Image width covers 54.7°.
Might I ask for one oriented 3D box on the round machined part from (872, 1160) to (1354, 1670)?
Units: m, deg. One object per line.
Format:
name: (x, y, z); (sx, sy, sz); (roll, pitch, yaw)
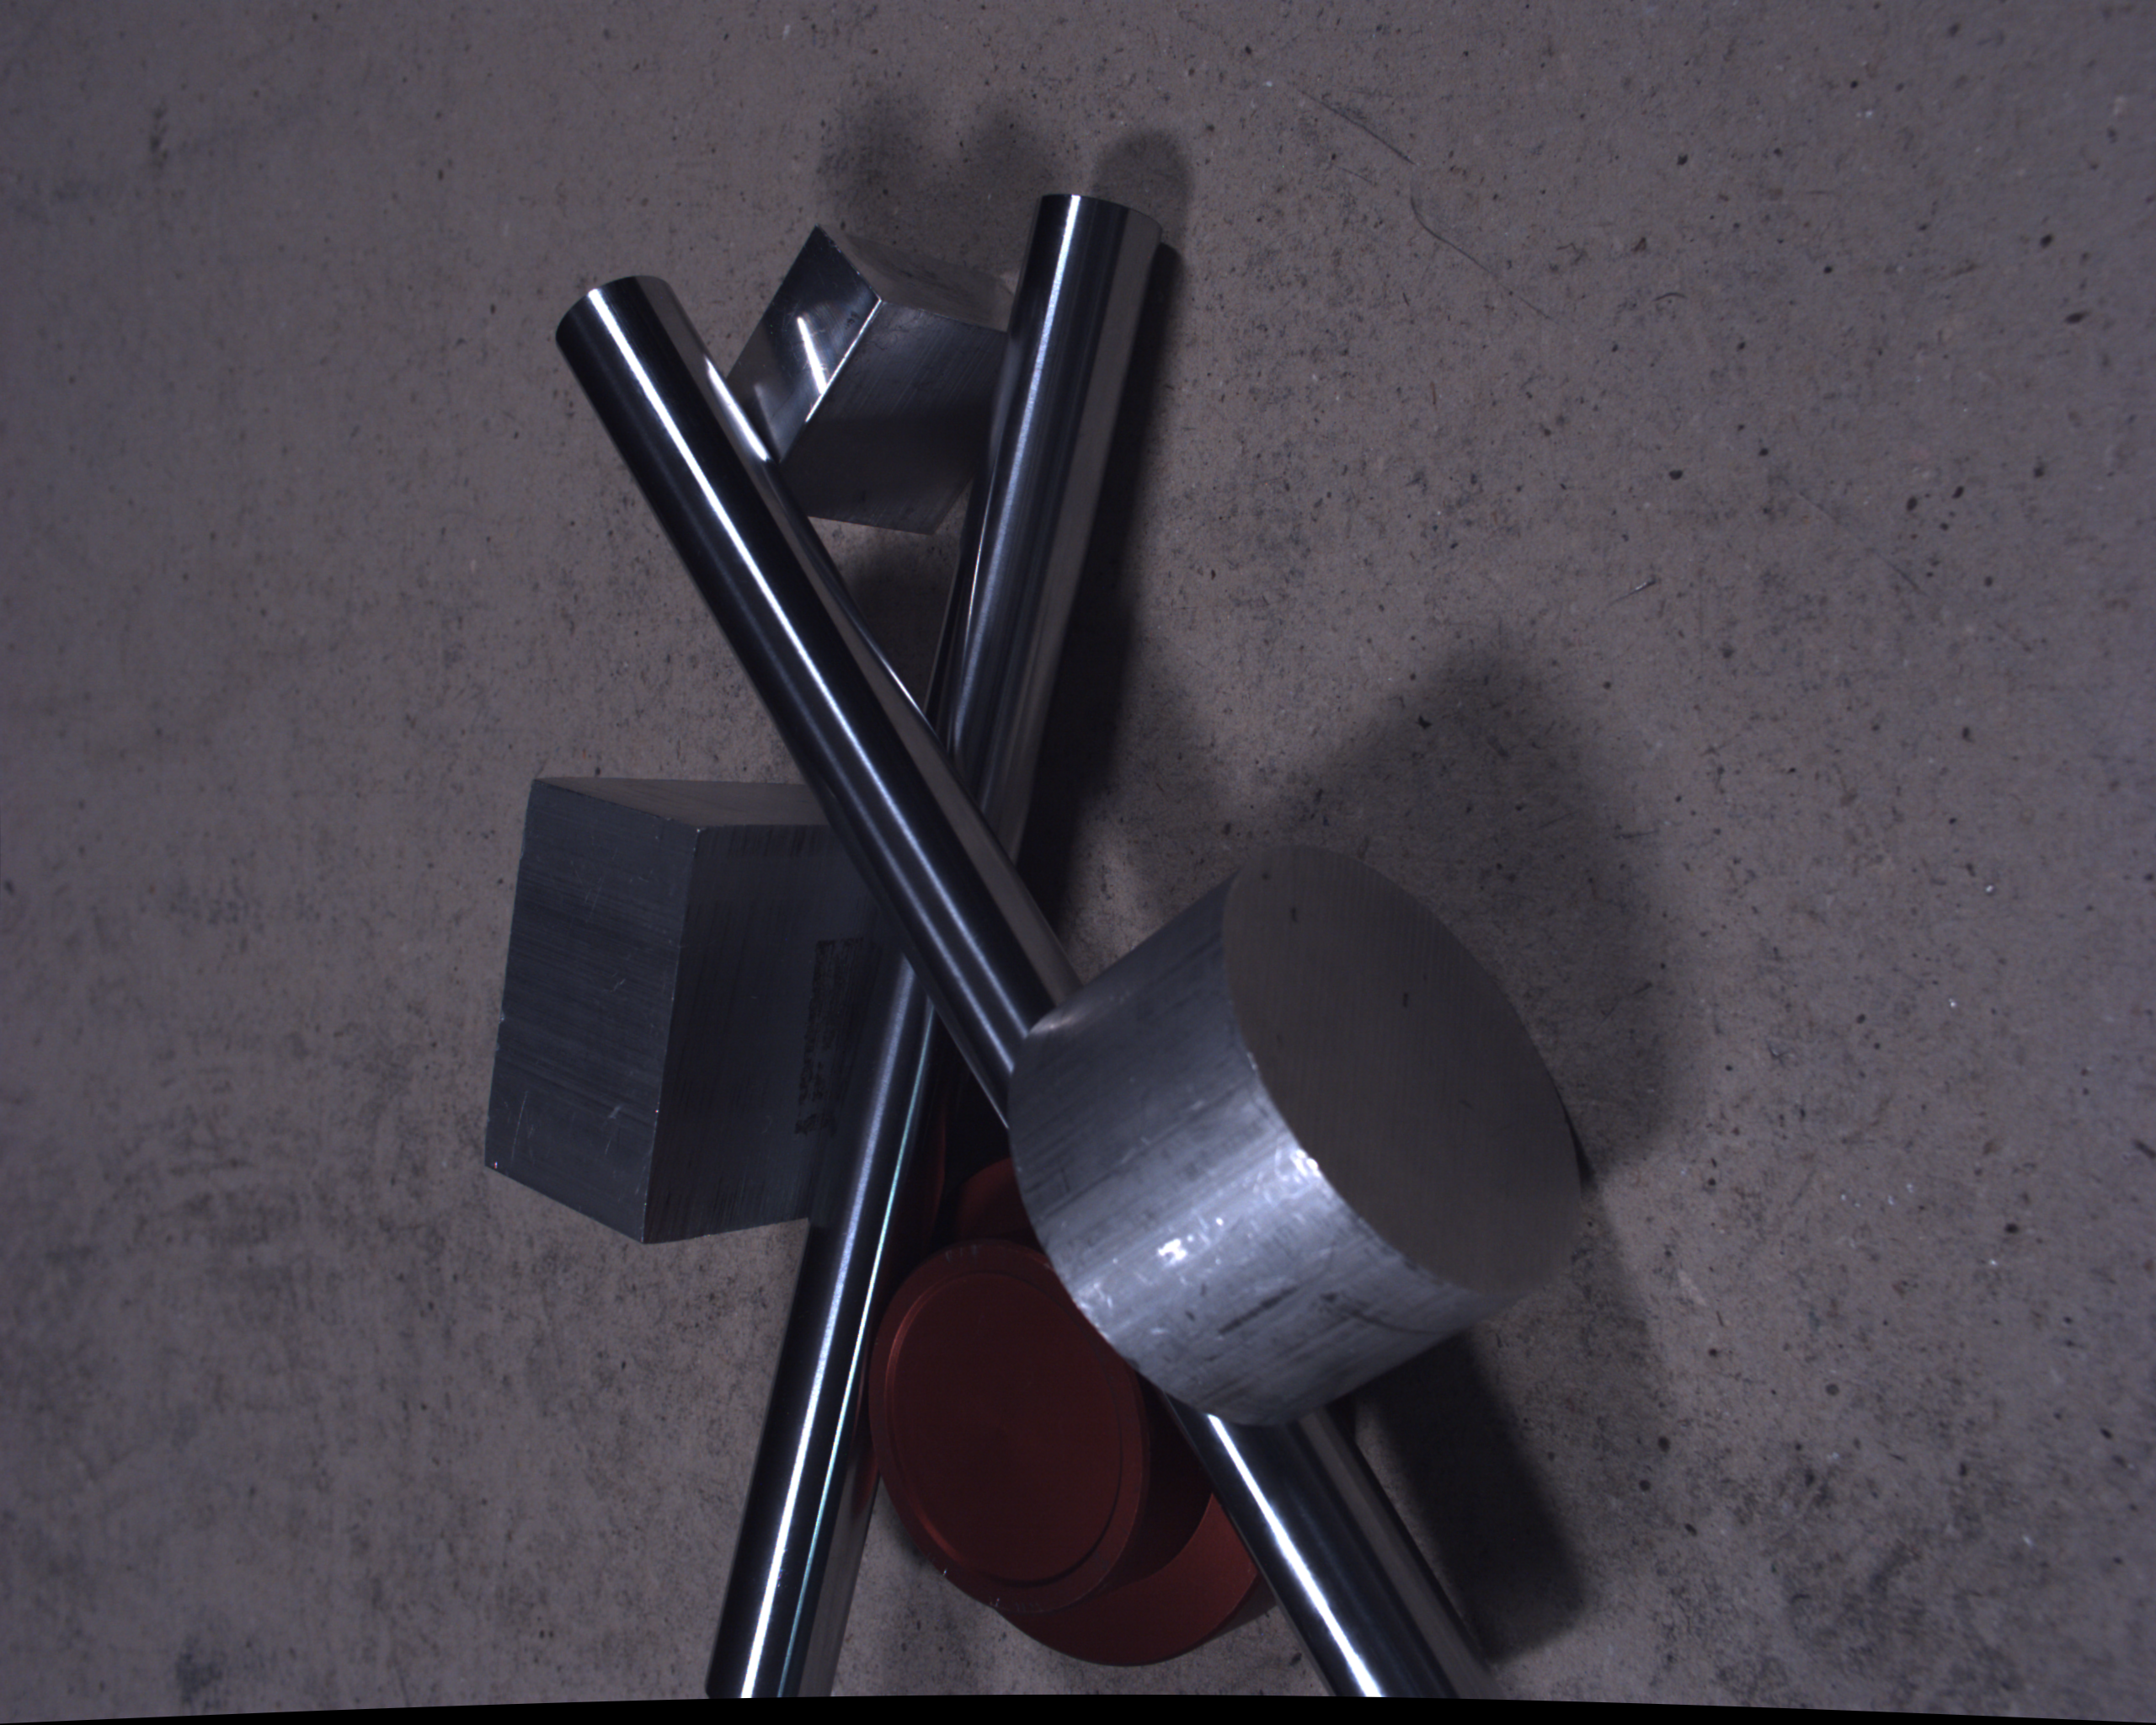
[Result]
round machined part: (0.000, 0.103, 0.395); (0.098, 0.042, 0.097); (0, 90, 39)

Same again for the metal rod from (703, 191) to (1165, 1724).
metal rod: (-0.029, 0.020, 0.408); (0.025, 0.025, 0.298); (15, 93, 38)

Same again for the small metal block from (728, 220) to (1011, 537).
small metal block: (-0.041, -0.096, 0.421); (0.050, 0.050, 0.025); (-52, 60, 27)

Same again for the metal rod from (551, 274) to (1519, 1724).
metal rod: (-0.015, 0.019, 0.372); (0.025, 0.025, 0.299); (-39, 75, 33)

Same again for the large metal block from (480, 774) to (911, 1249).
large metal block: (-0.068, 0.027, 0.424); (0.050, 0.081, 0.079); (15, 100, 39)

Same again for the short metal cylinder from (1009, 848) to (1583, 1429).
short metal cylinder: (0.036, 0.045, 0.340); (0.050, 0.081, 0.080); (-39, 67, 33)
